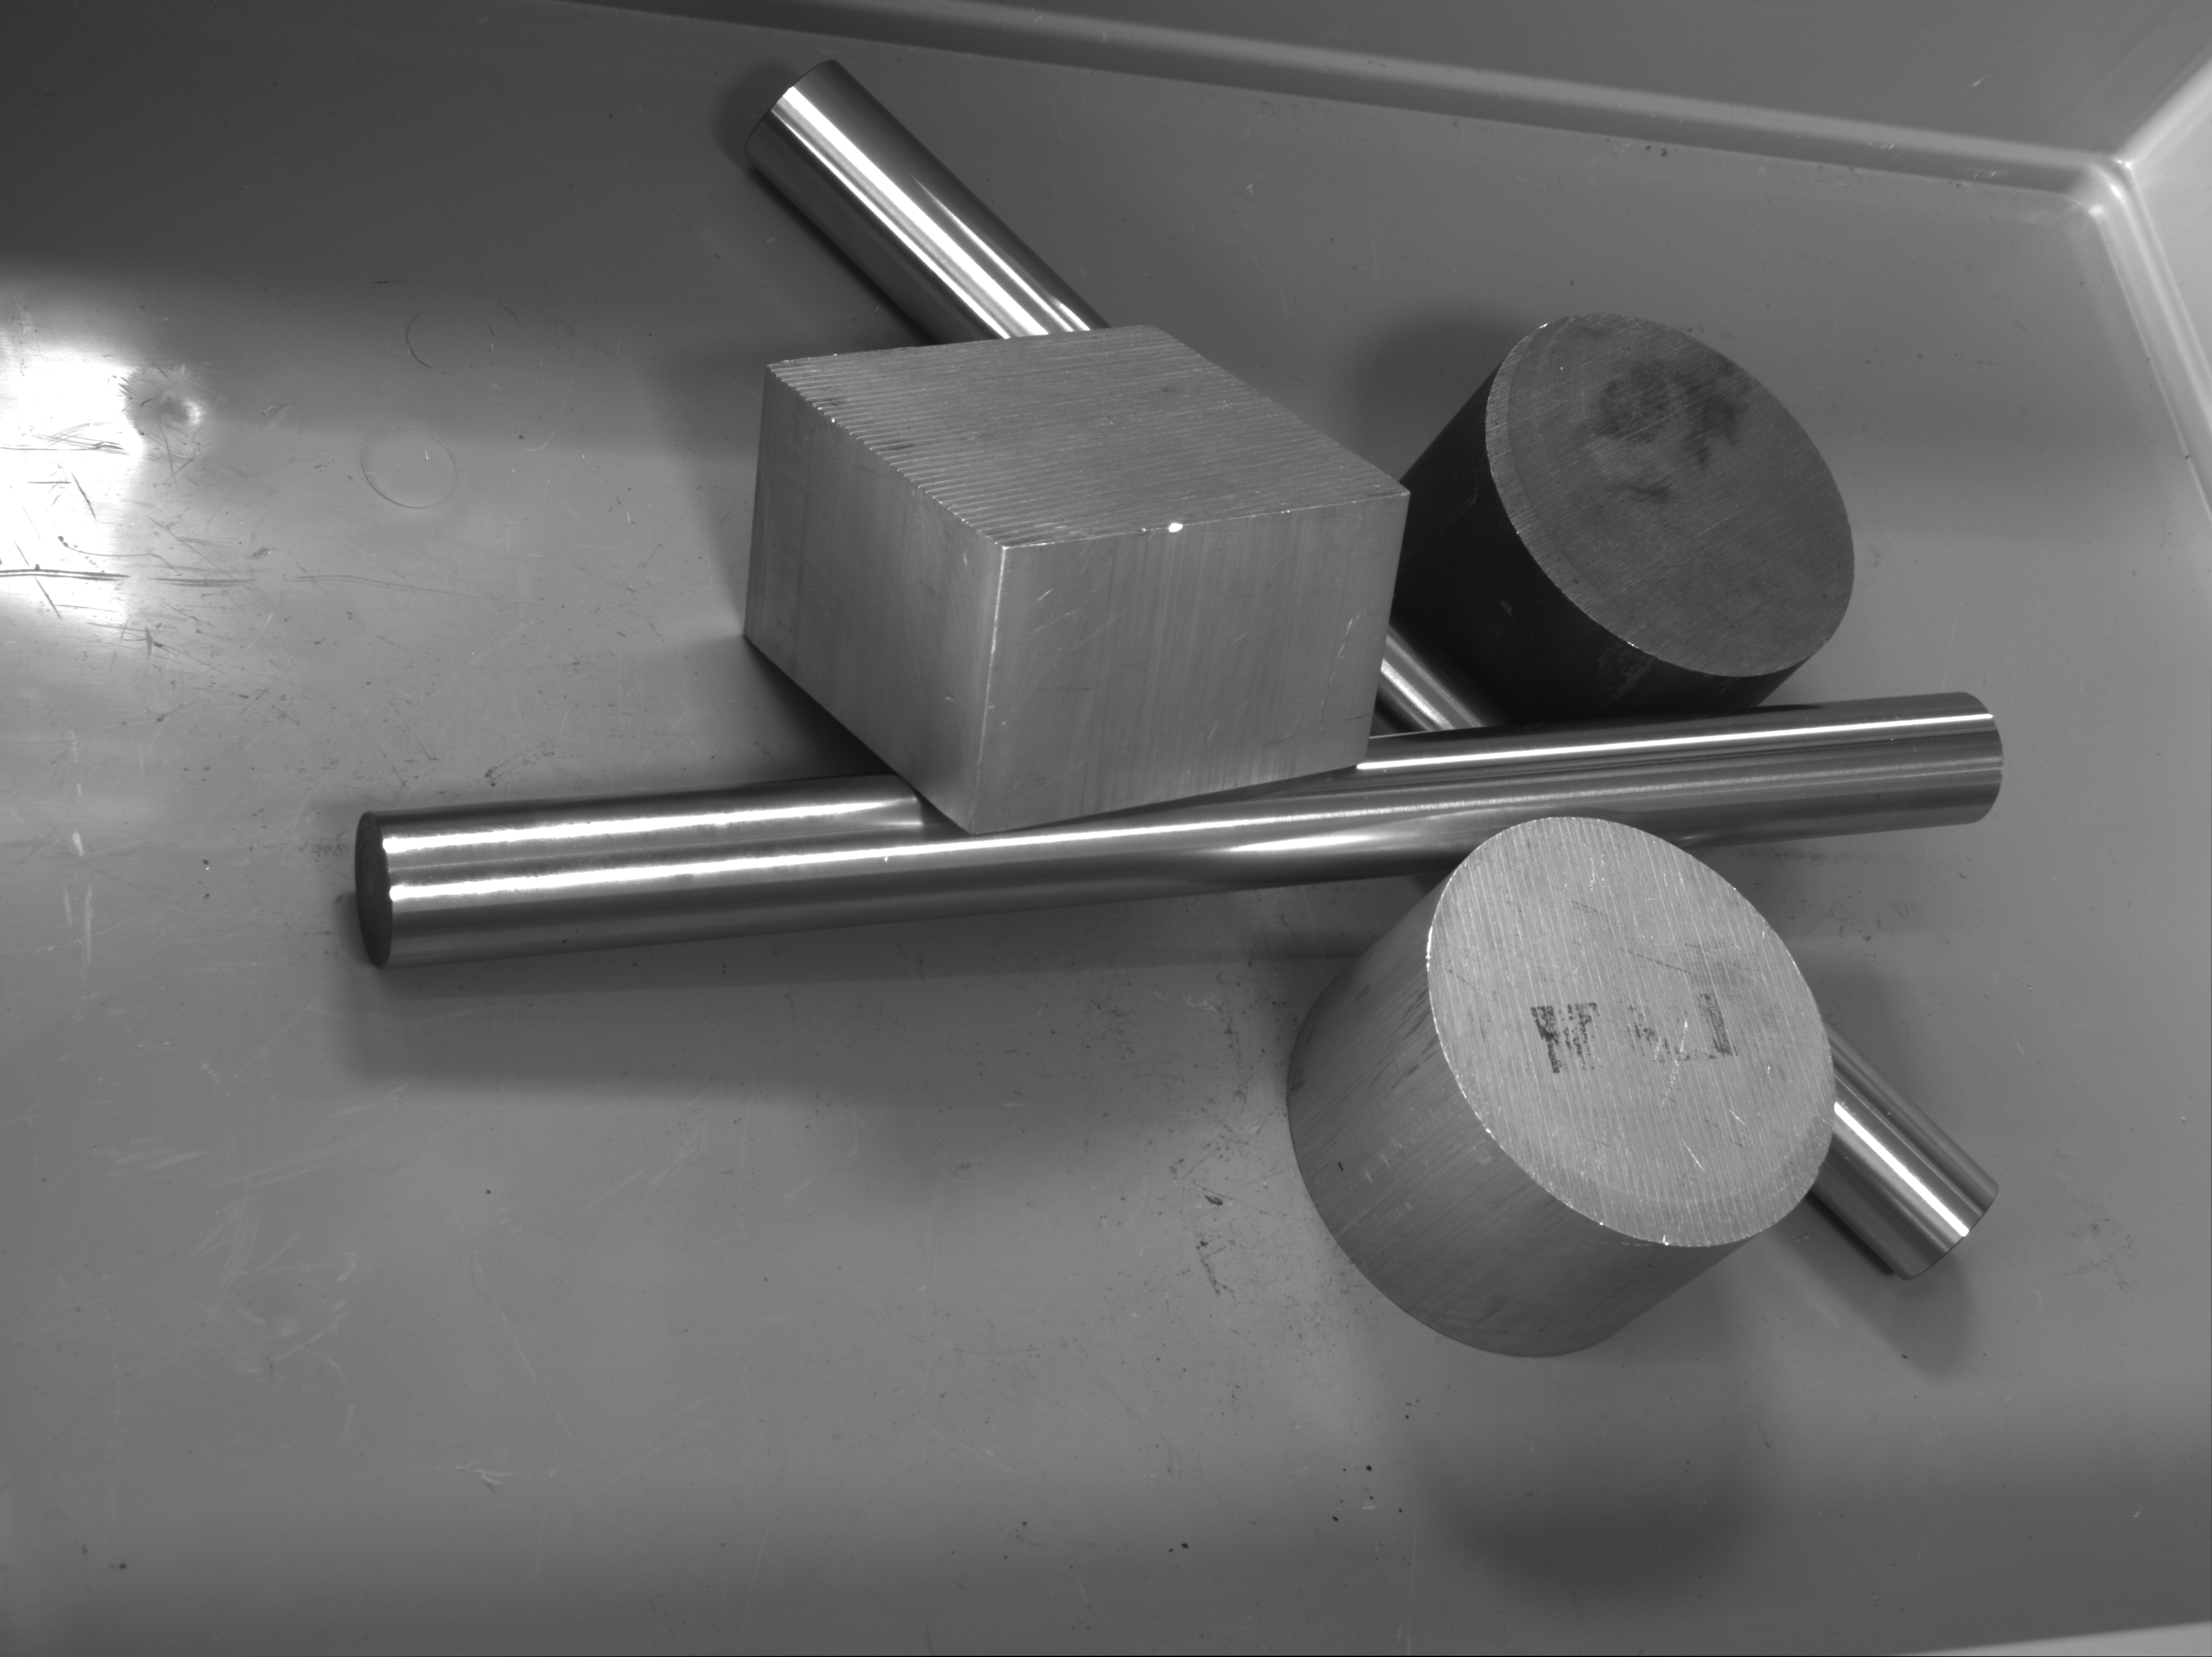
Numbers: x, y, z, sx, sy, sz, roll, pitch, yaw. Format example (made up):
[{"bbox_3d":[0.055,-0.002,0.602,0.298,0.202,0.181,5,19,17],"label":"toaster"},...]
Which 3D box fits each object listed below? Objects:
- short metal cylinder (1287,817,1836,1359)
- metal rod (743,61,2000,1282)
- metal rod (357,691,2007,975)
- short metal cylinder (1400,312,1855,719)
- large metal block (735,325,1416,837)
[{"bbox_3d":[0.078,0.045,0.636,0.080,0.050,0.080,13,56,-21],"label":"short metal cylinder"},{"bbox_3d":[0.048,-0.030,0.683,0.300,0.025,0.025,44,51,2],"label":"metal rod"},{"bbox_3d":[0.024,-0.002,0.630,0.301,0.025,0.025,-5,64,-23],"label":"metal rod"},{"bbox_3d":[0.096,-0.052,0.705,0.080,0.050,0.080,13,56,-21],"label":"short metal cylinder"},{"bbox_3d":[-0.007,-0.045,0.622,0.080,0.050,0.080,-10,32,-32],"label":"large metal block"}]
